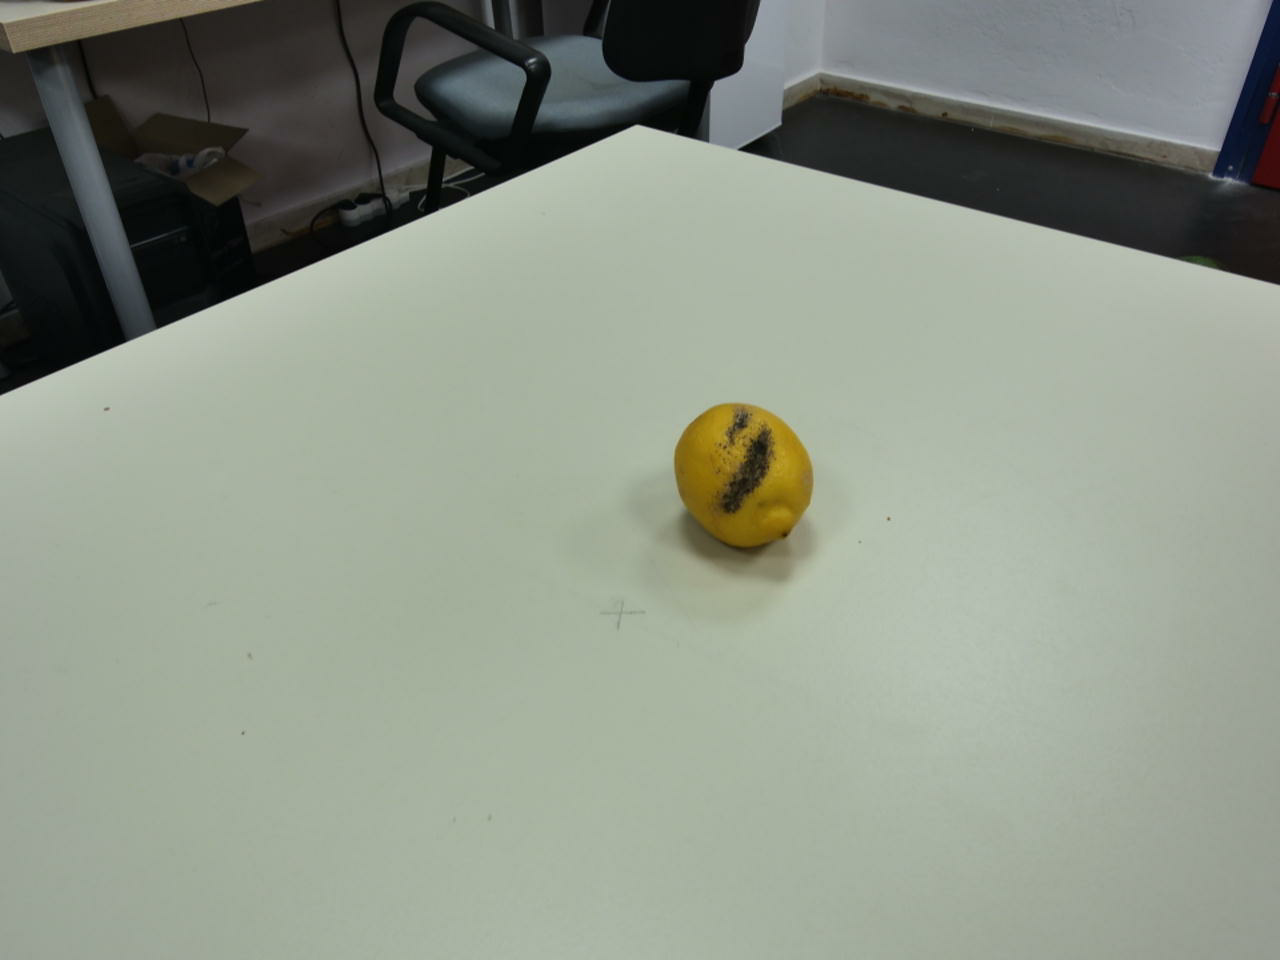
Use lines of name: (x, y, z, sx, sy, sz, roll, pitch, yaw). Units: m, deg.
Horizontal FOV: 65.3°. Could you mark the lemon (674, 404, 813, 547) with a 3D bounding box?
lemon: (0.044, -0.002, 0.424, 0.061, 0.056, 0.058, 20, 41, 26)
